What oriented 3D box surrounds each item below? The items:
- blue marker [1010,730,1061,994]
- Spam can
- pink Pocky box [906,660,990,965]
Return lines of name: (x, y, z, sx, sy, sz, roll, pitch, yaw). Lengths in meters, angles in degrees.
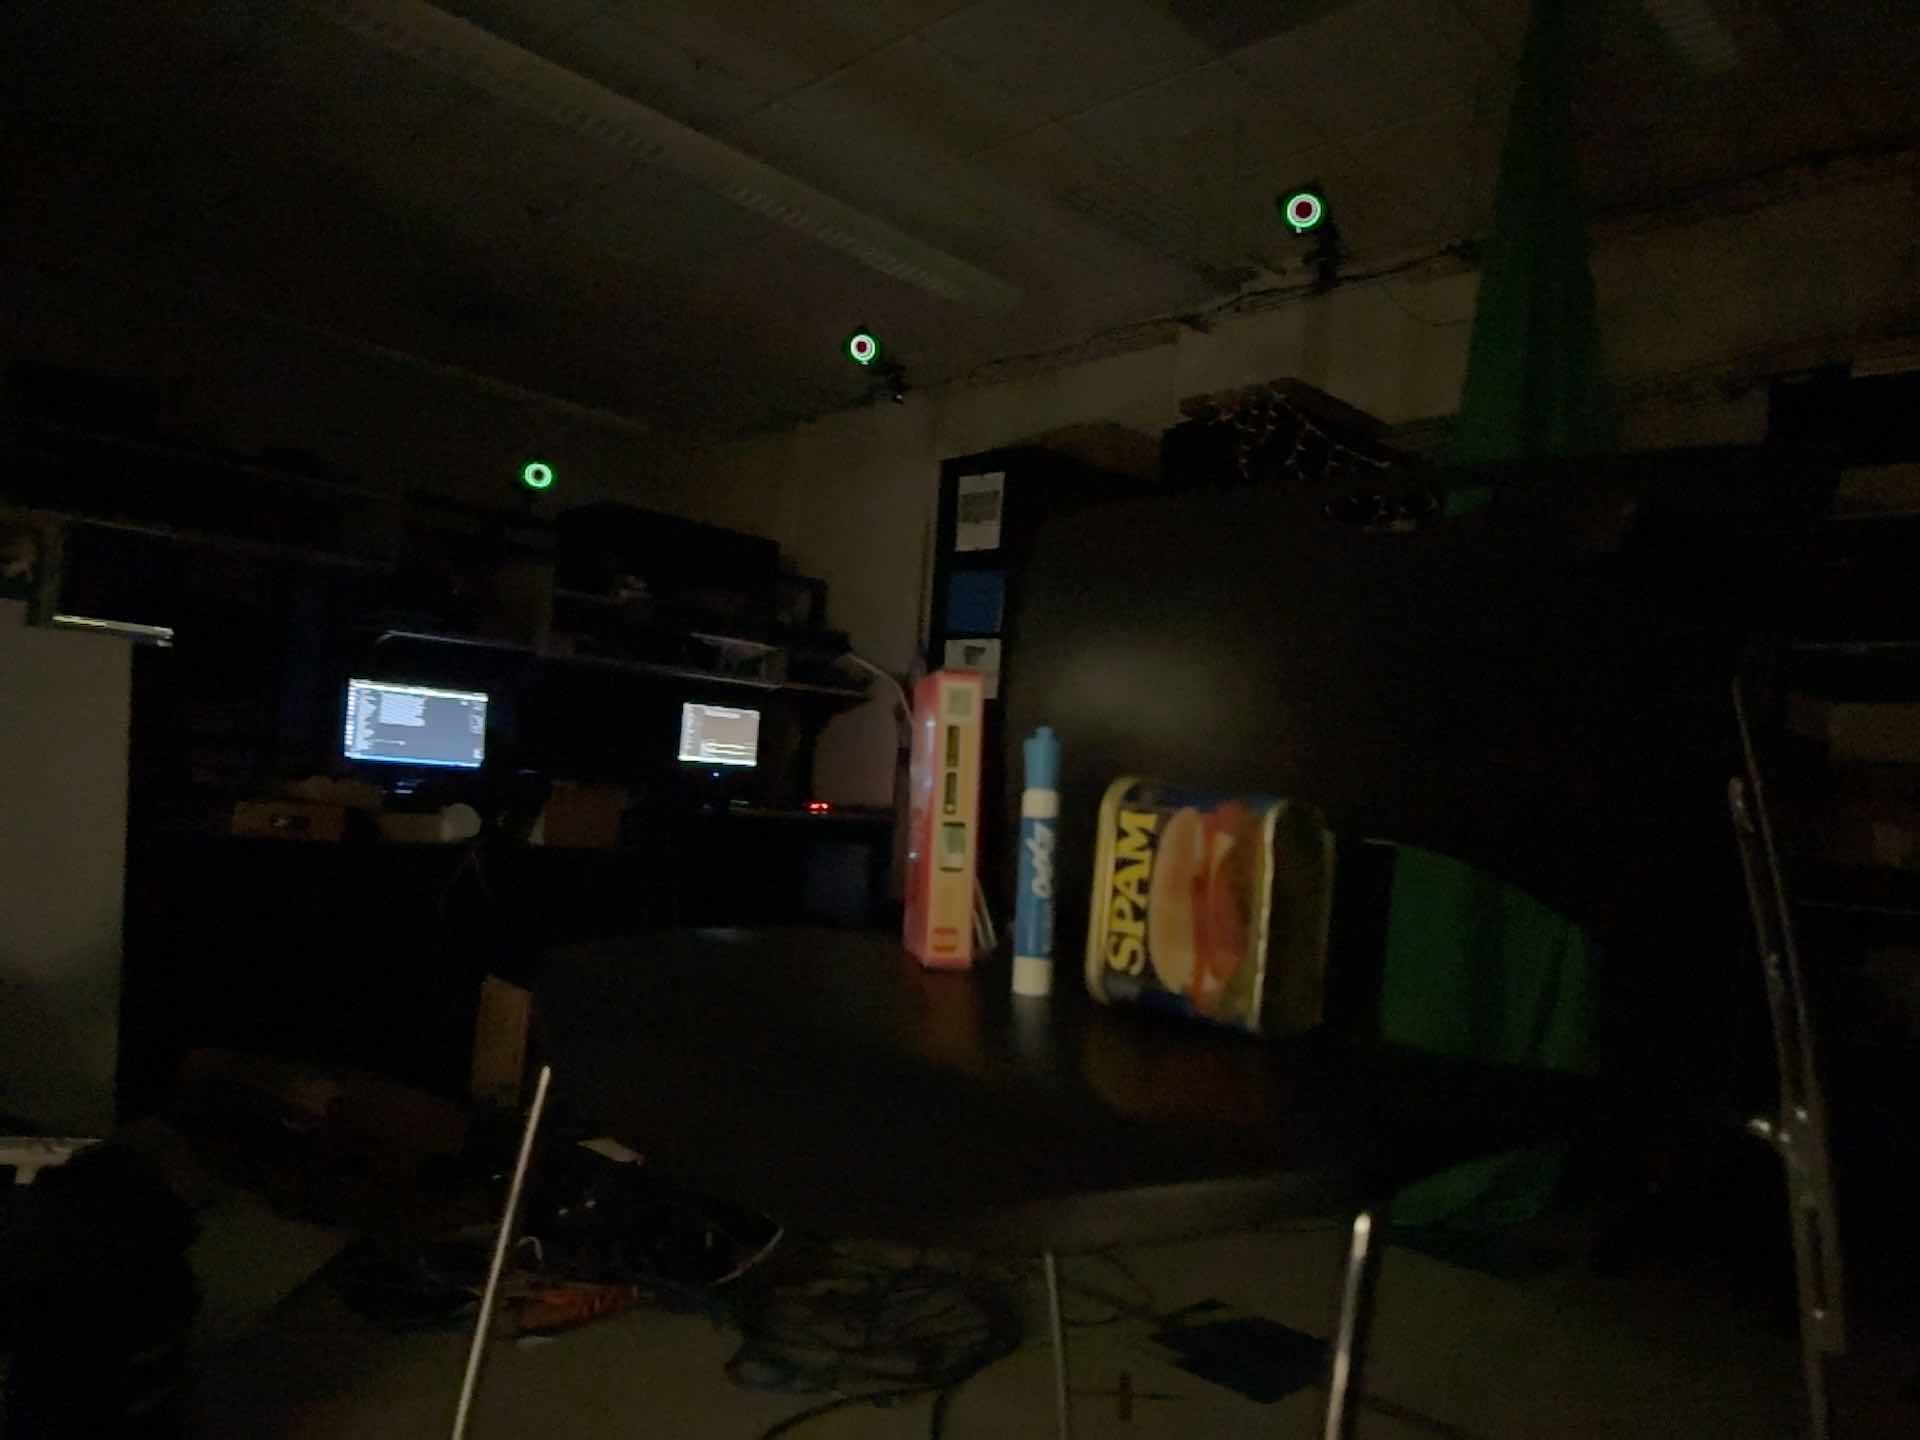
blue marker: (0.035, 0.065, 0.626, 0.020, 0.121, 0.020, 2, 0, 0)
Spam can: (0.105, 0.075, 0.576, 0.083, 0.100, 0.056, 5, -1, 39)
pink Pocky box: (-0.008, 0.048, 0.721, 0.029, 0.155, 0.084, 3, -2, -10)
